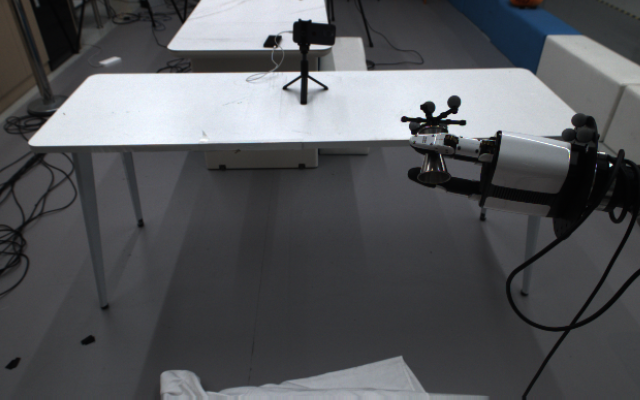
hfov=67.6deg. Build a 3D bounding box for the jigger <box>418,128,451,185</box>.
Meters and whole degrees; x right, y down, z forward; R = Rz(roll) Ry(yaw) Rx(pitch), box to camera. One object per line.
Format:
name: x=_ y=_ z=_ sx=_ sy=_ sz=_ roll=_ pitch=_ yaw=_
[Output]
jigger: x=0.153 y=-0.062 z=0.657 sx=0.043 sy=0.043 sz=0.071 roll=3 pitch=72 yaw=1
